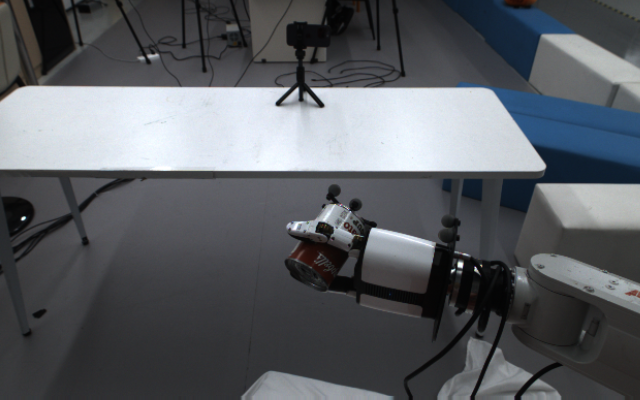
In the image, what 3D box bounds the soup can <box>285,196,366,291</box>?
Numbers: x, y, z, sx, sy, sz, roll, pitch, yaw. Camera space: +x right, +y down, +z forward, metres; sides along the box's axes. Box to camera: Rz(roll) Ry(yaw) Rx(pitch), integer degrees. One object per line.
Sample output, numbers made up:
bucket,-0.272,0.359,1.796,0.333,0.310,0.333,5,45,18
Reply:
soup can,0.010,0.062,0.644,0.067,0.067,0.101,22,60,26
